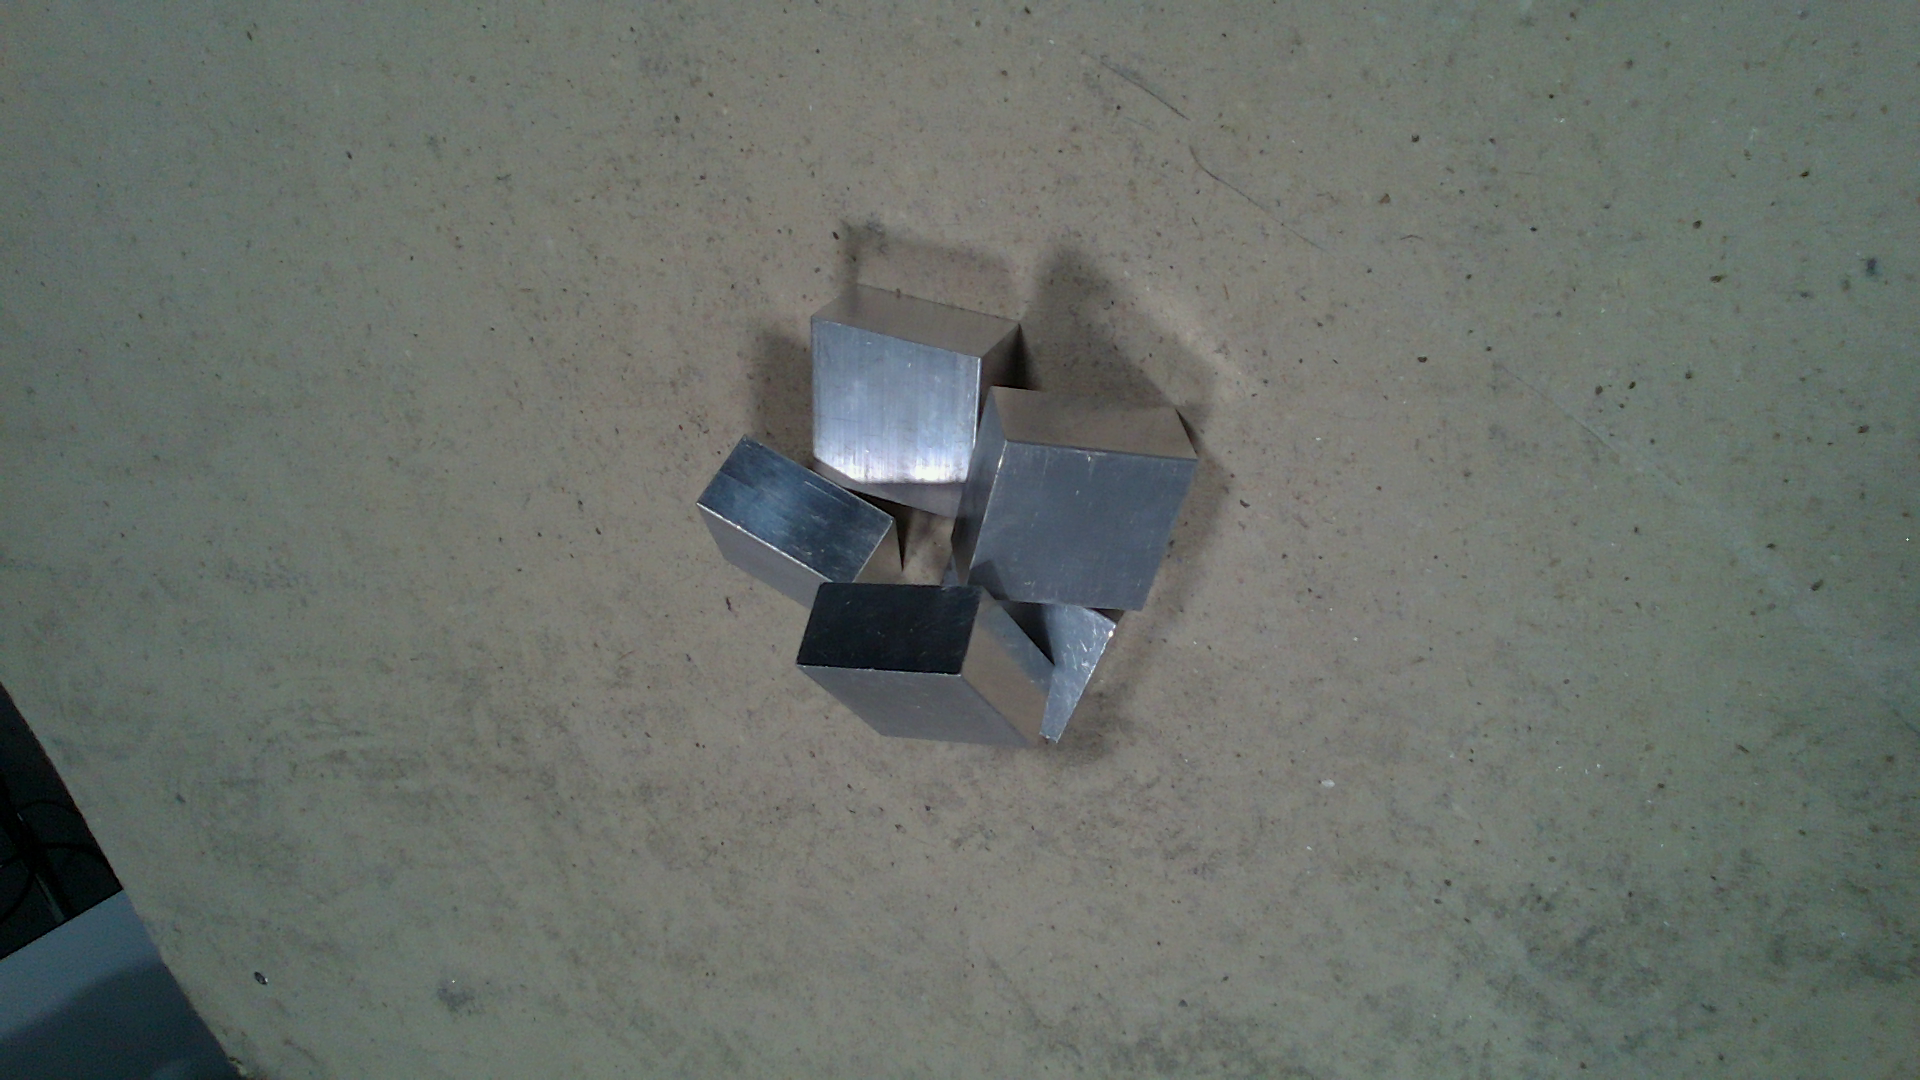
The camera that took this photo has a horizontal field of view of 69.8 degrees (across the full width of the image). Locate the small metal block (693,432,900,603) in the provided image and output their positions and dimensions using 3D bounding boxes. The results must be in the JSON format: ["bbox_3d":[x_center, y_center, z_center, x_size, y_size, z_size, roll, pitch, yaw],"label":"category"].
[{"bbox_3d":[-0.046,0.000,0.402,0.050,0.025,0.050,29,164,9],"label":"small metal block"}]

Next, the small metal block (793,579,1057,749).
[{"bbox_3d":[-0.008,0.034,0.371,0.050,0.025,0.050,0,151,28],"label":"small metal block"}]

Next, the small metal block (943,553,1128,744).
[{"bbox_3d":[0.019,0.023,0.398,0.050,0.025,0.050,29,128,10],"label":"small metal block"}]

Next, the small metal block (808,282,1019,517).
[{"bbox_3d":[-0.013,-0.038,0.377,0.050,0.025,0.050,16,125,19],"label":"small metal block"}]

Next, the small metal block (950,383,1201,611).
[{"bbox_3d":[0.028,-0.010,0.357,0.050,0.025,0.050,5,128,-14],"label":"small metal block"}]
